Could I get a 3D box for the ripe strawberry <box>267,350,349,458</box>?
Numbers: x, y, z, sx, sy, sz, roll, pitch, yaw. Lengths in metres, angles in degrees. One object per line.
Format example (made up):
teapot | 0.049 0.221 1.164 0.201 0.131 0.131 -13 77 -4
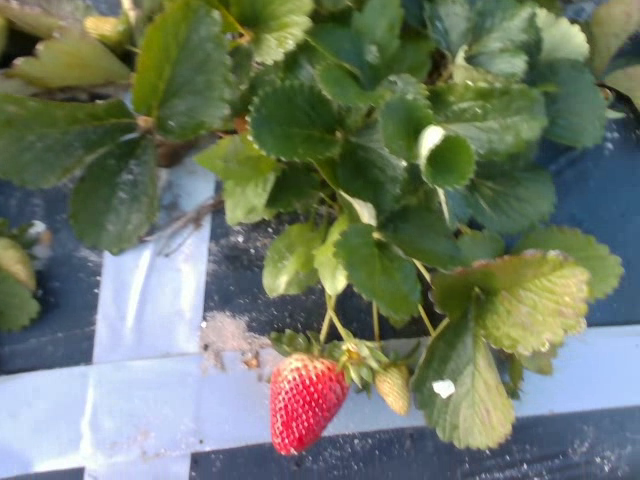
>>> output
ripe strawberry | -0.003 0.040 0.140 0.023 0.026 0.021 12 -26 14
